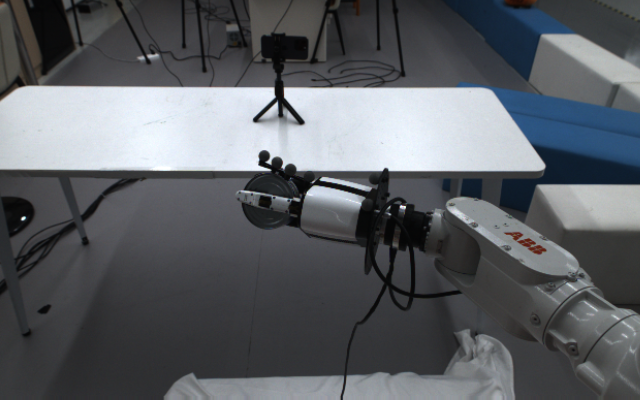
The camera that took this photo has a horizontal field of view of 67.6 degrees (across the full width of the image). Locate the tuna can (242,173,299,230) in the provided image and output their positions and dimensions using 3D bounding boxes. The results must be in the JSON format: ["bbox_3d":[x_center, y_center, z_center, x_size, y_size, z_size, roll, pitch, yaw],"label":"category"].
[{"bbox_3d":[-0.073,0.001,0.740,0.085,0.085,0.034,13,3,16],"label":"tuna can"}]
